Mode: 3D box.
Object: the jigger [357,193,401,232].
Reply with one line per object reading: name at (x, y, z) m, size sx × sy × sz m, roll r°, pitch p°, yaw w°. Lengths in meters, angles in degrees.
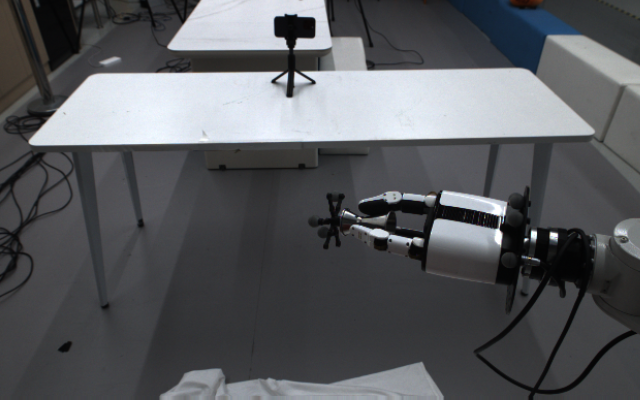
jigger at (0.073, 0.026, 0.665) m, size 0.071 × 0.043 × 0.043 m, roll 3°, pitch 32°, yaw 26°
